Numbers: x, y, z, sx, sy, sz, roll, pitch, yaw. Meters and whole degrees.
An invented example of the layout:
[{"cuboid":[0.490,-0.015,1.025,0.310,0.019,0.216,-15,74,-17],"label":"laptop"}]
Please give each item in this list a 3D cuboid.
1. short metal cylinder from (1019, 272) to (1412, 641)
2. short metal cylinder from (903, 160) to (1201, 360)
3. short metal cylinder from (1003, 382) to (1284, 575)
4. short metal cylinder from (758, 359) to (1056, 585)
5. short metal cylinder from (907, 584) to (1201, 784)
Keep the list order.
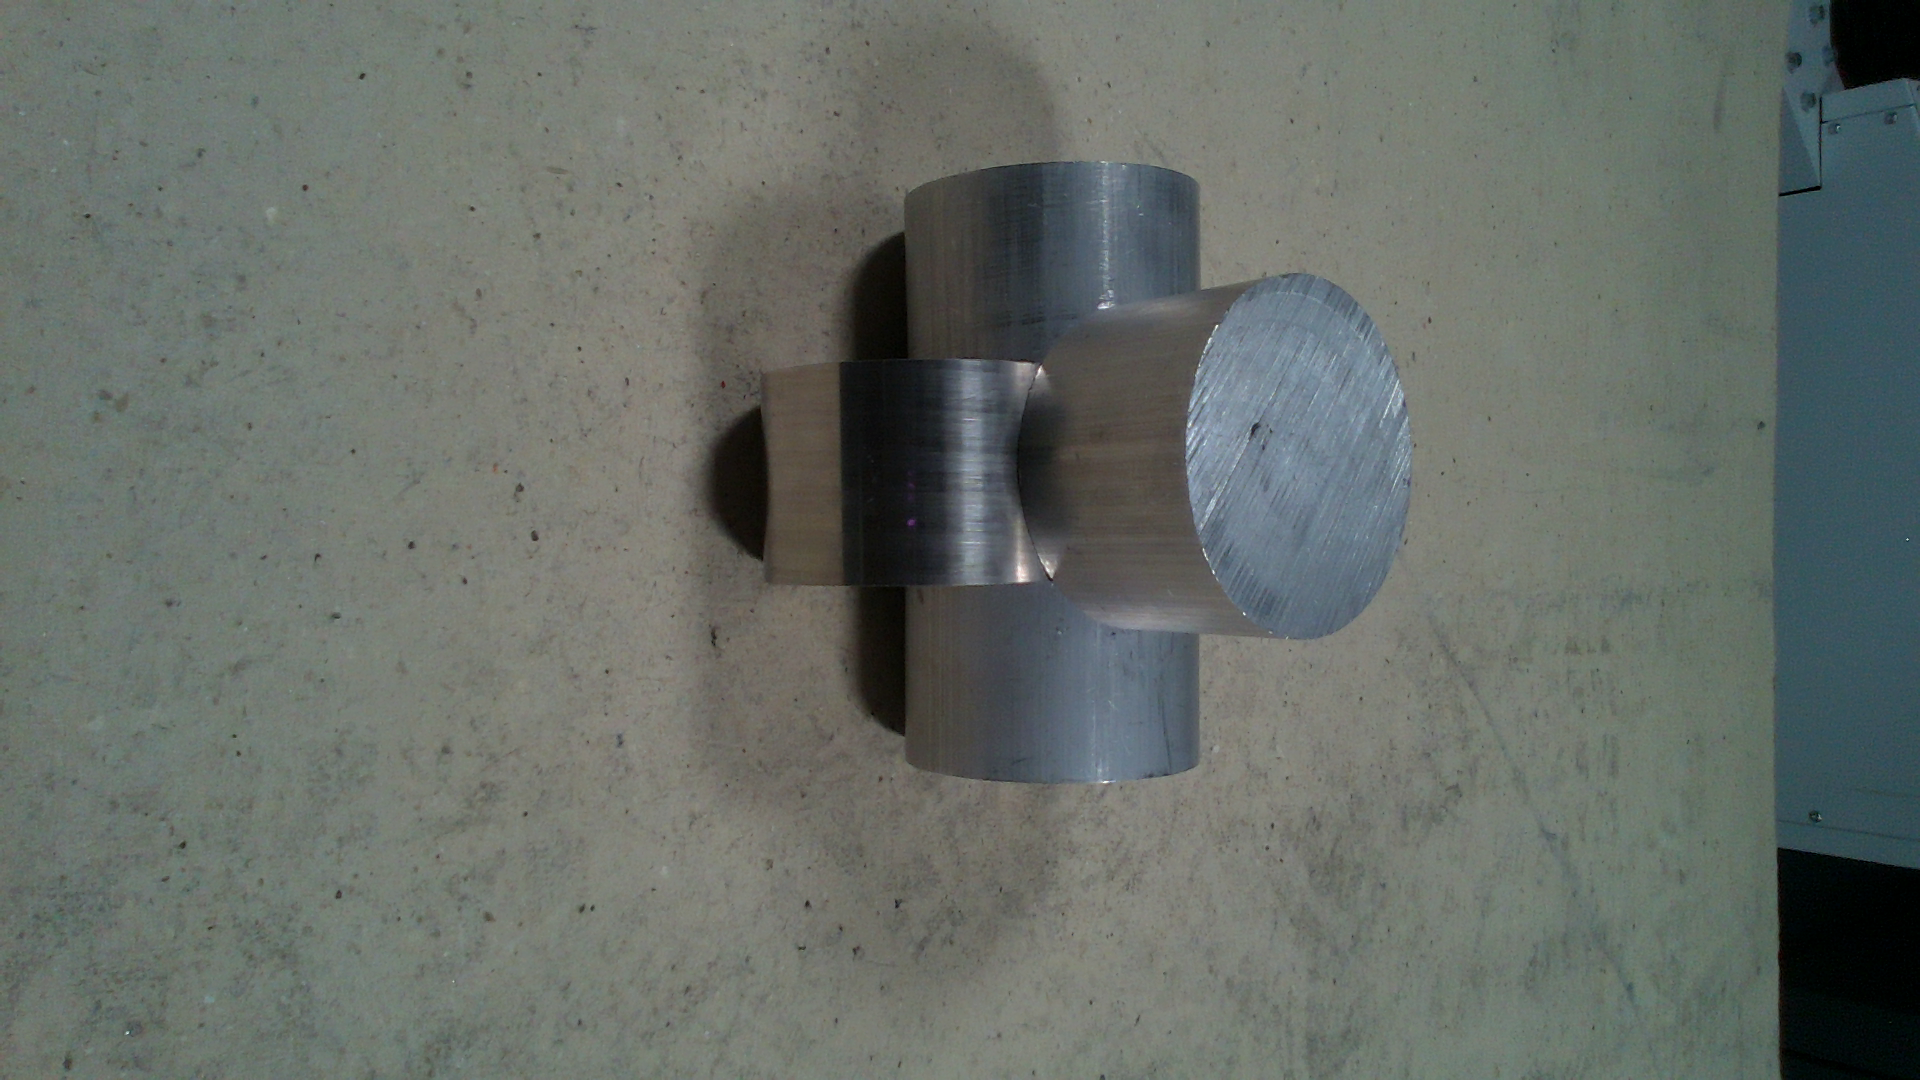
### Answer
[{"cuboid":[0.060,-0.018,0.319,0.080,0.050,0.080,0,90,-40],"label":"short metal cylinder"},{"cuboid":[0.025,-0.068,0.374,0.080,0.080,0.050,-2,91,-40],"label":"short metal cylinder"},{"cuboid":[0.053,-0.016,0.397,0.080,0.080,0.050,-1,90,-40],"label":"short metal cylinder"},{"cuboid":[-0.010,-0.016,0.345,0.080,0.080,0.050,-1,91,-40],"label":"short metal cylinder"},{"cuboid":[0.025,0.034,0.374,0.080,0.080,0.050,0,90,-40],"label":"short metal cylinder"}]
